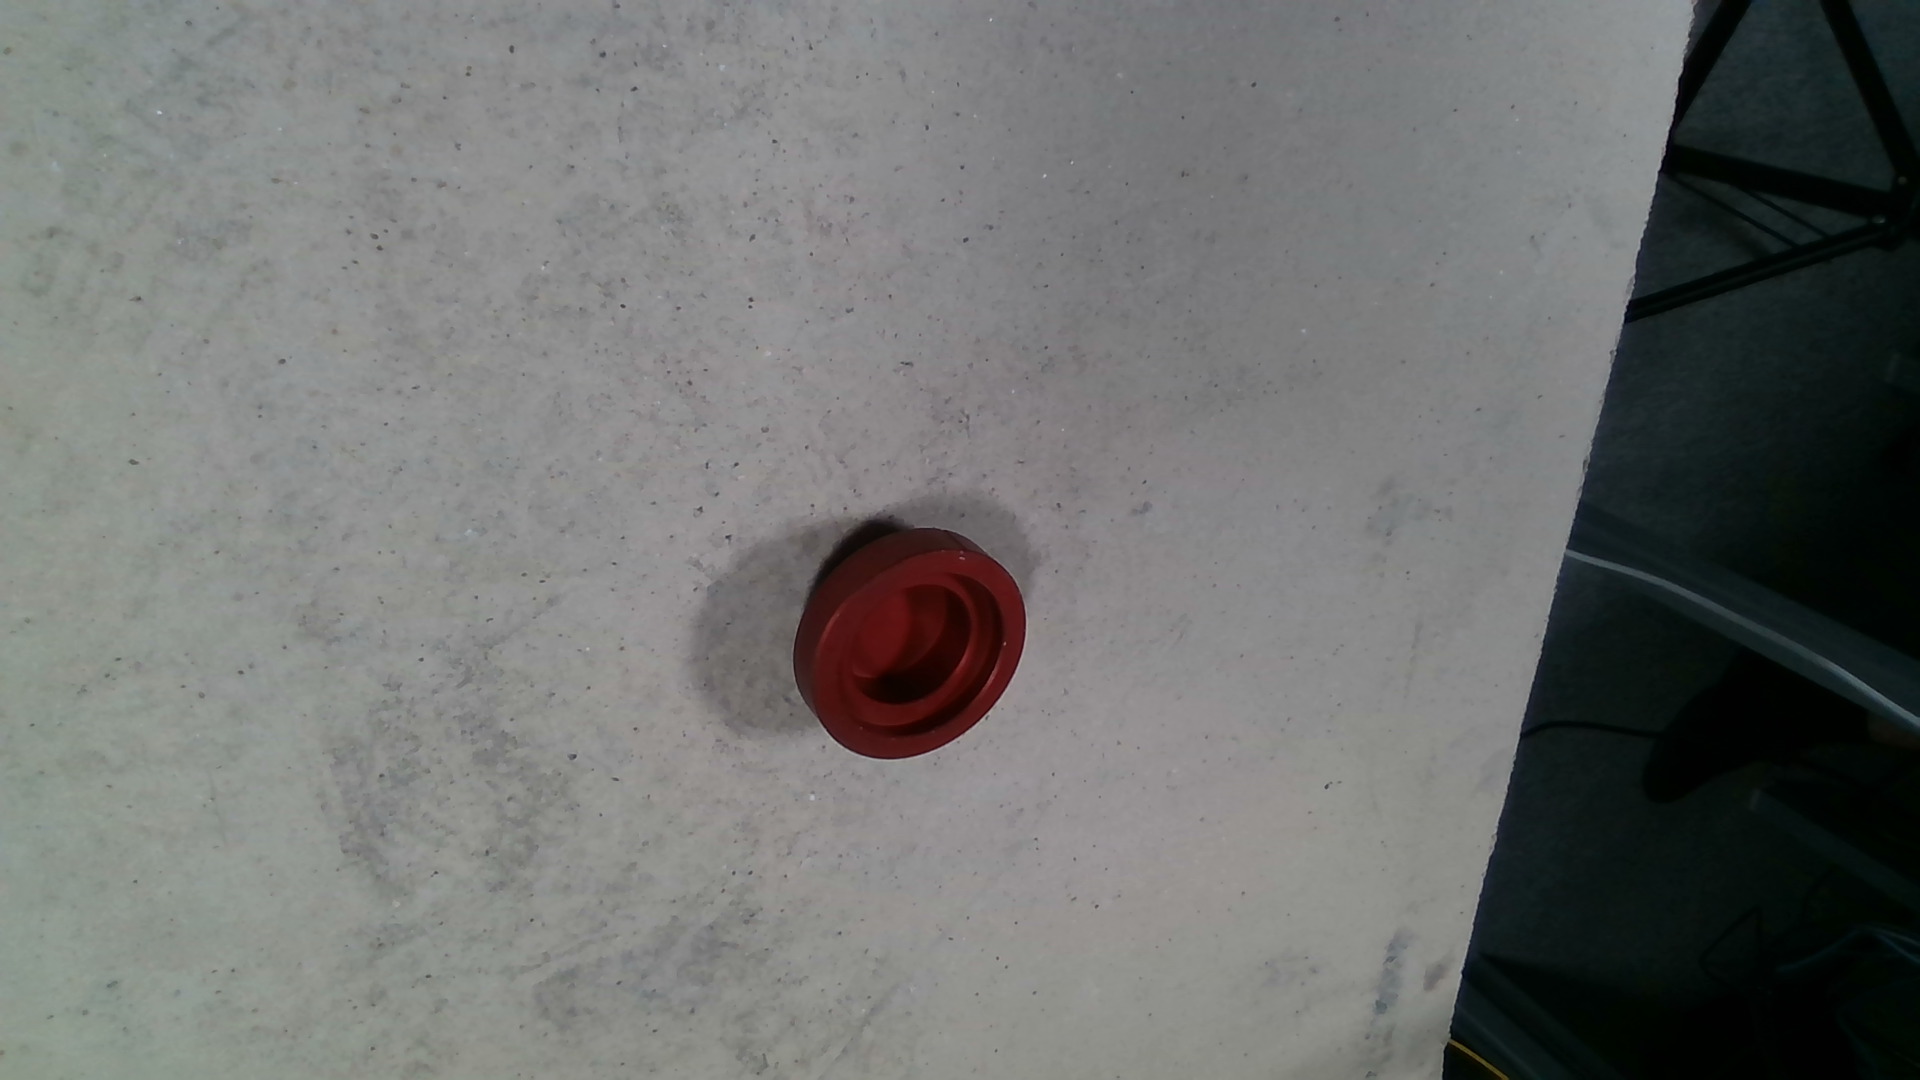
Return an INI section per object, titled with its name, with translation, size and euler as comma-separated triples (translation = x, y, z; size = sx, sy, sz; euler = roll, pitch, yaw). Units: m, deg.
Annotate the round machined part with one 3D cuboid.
[round machined part]
translation = -0.025, 0.039, 0.576
size = 0.098, 0.042, 0.098
euler = -14, 122, -25
